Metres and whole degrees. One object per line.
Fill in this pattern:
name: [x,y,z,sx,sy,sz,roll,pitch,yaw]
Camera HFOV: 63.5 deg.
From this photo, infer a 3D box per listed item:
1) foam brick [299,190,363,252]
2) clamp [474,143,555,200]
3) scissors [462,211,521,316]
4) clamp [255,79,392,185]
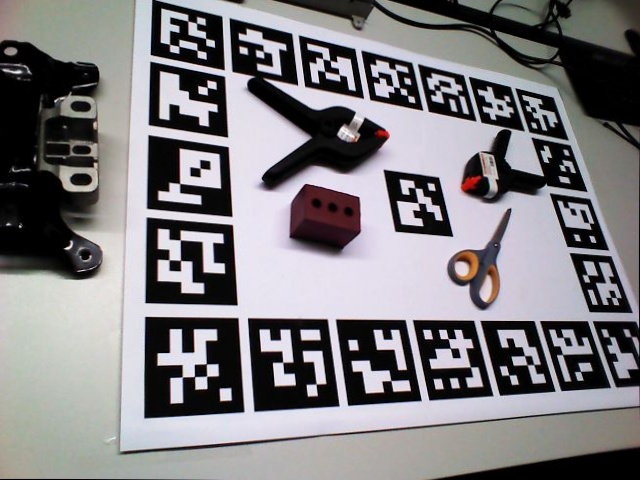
foam brick: [0.018,-0.022,0.655,0.078,0.052,0.052,10,65,-17]
clamp: [0.313,-0.112,0.850,0.164,0.037,0.122,-26,88,-32]
scissors: [0.270,0.018,0.773,0.088,0.016,0.201,44,54,-11]
clamp: [0.018,-0.144,0.717,0.202,0.037,0.164,0,64,-27]
